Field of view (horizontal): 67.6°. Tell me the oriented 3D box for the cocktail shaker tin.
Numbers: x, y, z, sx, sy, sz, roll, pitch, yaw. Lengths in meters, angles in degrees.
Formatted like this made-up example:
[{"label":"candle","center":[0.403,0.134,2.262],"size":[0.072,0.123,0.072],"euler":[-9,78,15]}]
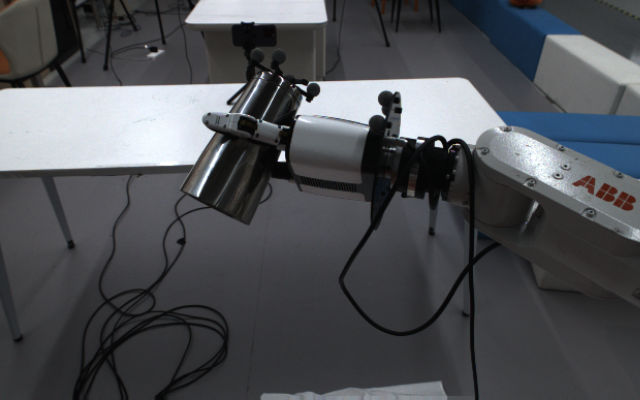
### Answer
[{"label":"cocktail shaker tin","center":[-0.086,-0.068,0.585],"size":[0.093,0.093,0.170],"euler":[21,81,25]}]
